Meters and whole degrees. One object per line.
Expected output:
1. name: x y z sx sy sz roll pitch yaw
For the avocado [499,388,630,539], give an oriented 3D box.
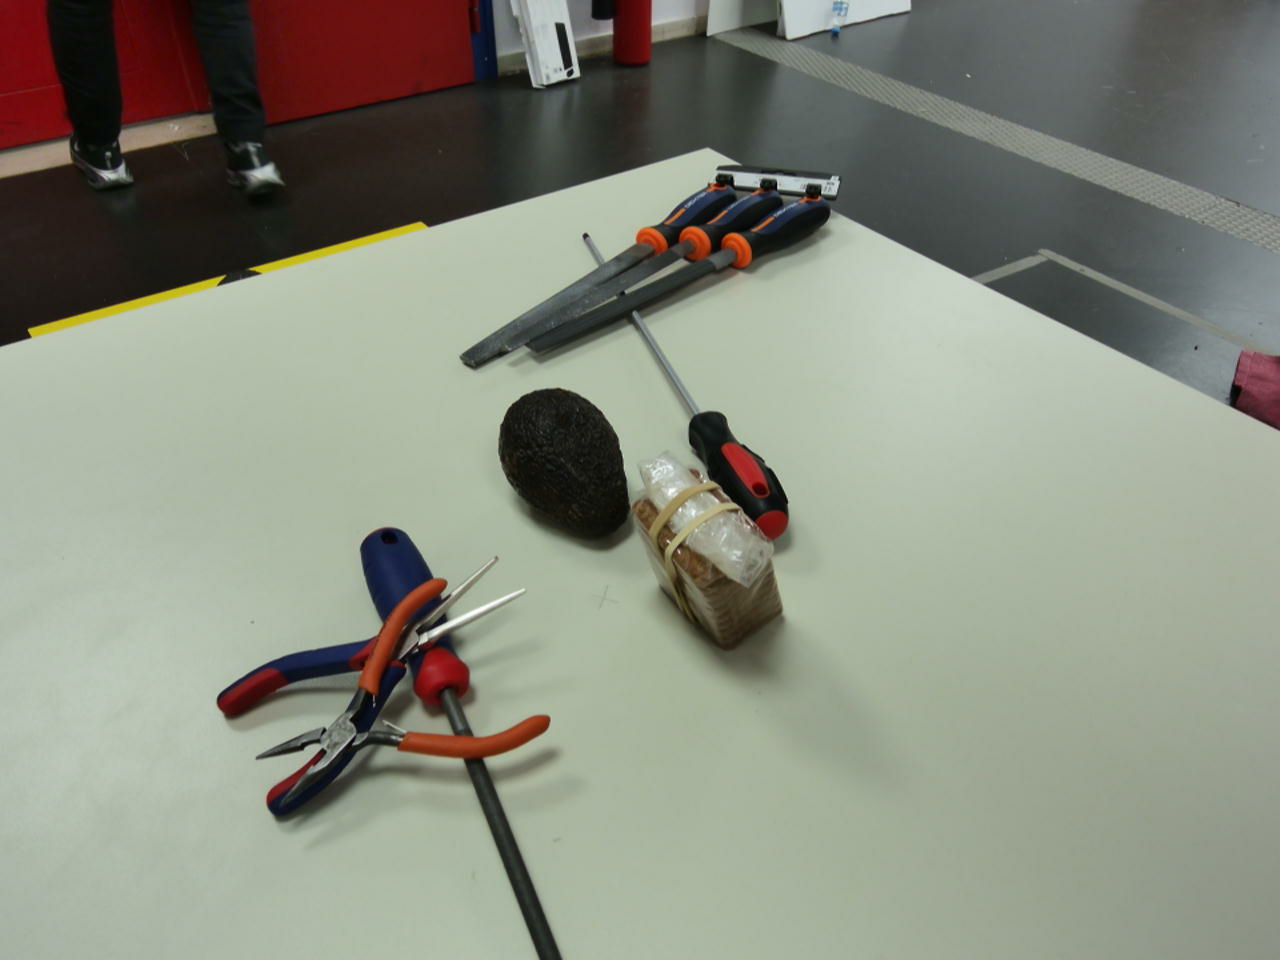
1. avocado: -0.045 -0.012 0.575 0.070 0.069 0.090 -6 39 -10
